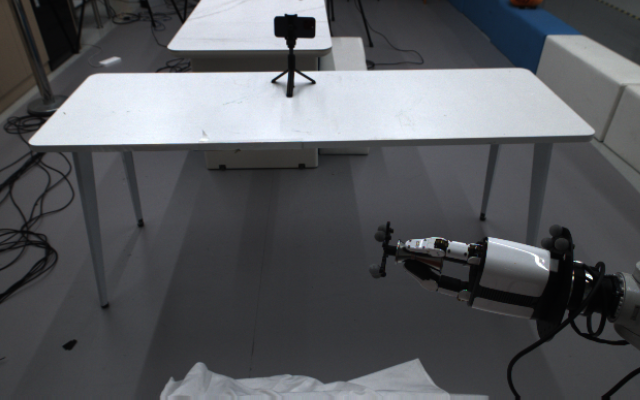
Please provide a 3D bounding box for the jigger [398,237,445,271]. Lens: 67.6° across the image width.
[{"bbox_3d":[0.155,0.078,0.719,0.071,0.043,0.043,8,35,13],"label":"jigger"}]
